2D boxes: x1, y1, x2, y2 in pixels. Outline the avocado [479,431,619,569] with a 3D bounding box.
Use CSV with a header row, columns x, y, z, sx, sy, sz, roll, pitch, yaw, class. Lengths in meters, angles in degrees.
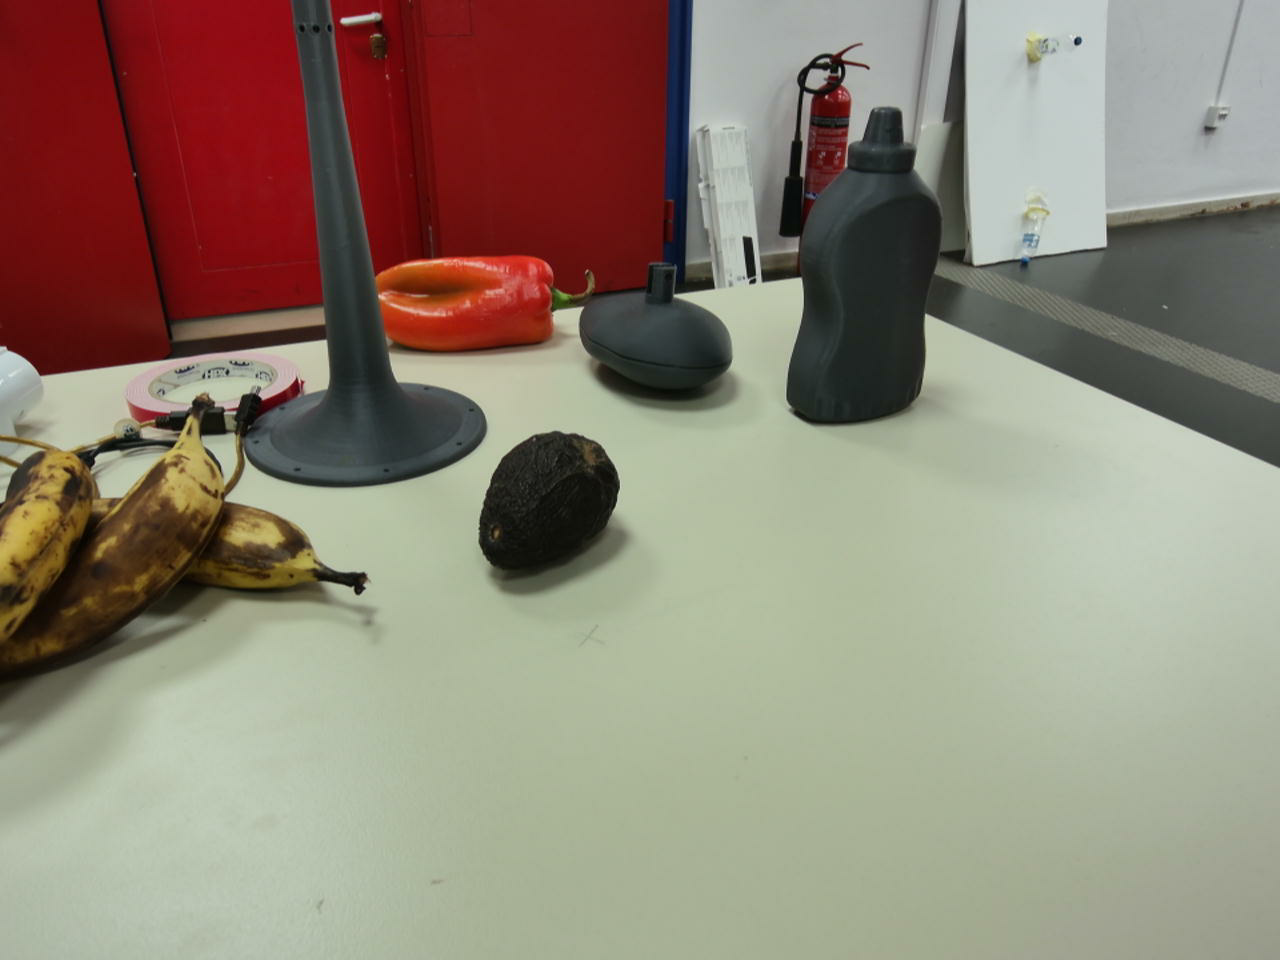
x,y,z,sx,sy,sz,roll,pitch,yaw,class
-0.050,0.009,0.519,0.062,0.062,0.092,21,33,36,avocado
